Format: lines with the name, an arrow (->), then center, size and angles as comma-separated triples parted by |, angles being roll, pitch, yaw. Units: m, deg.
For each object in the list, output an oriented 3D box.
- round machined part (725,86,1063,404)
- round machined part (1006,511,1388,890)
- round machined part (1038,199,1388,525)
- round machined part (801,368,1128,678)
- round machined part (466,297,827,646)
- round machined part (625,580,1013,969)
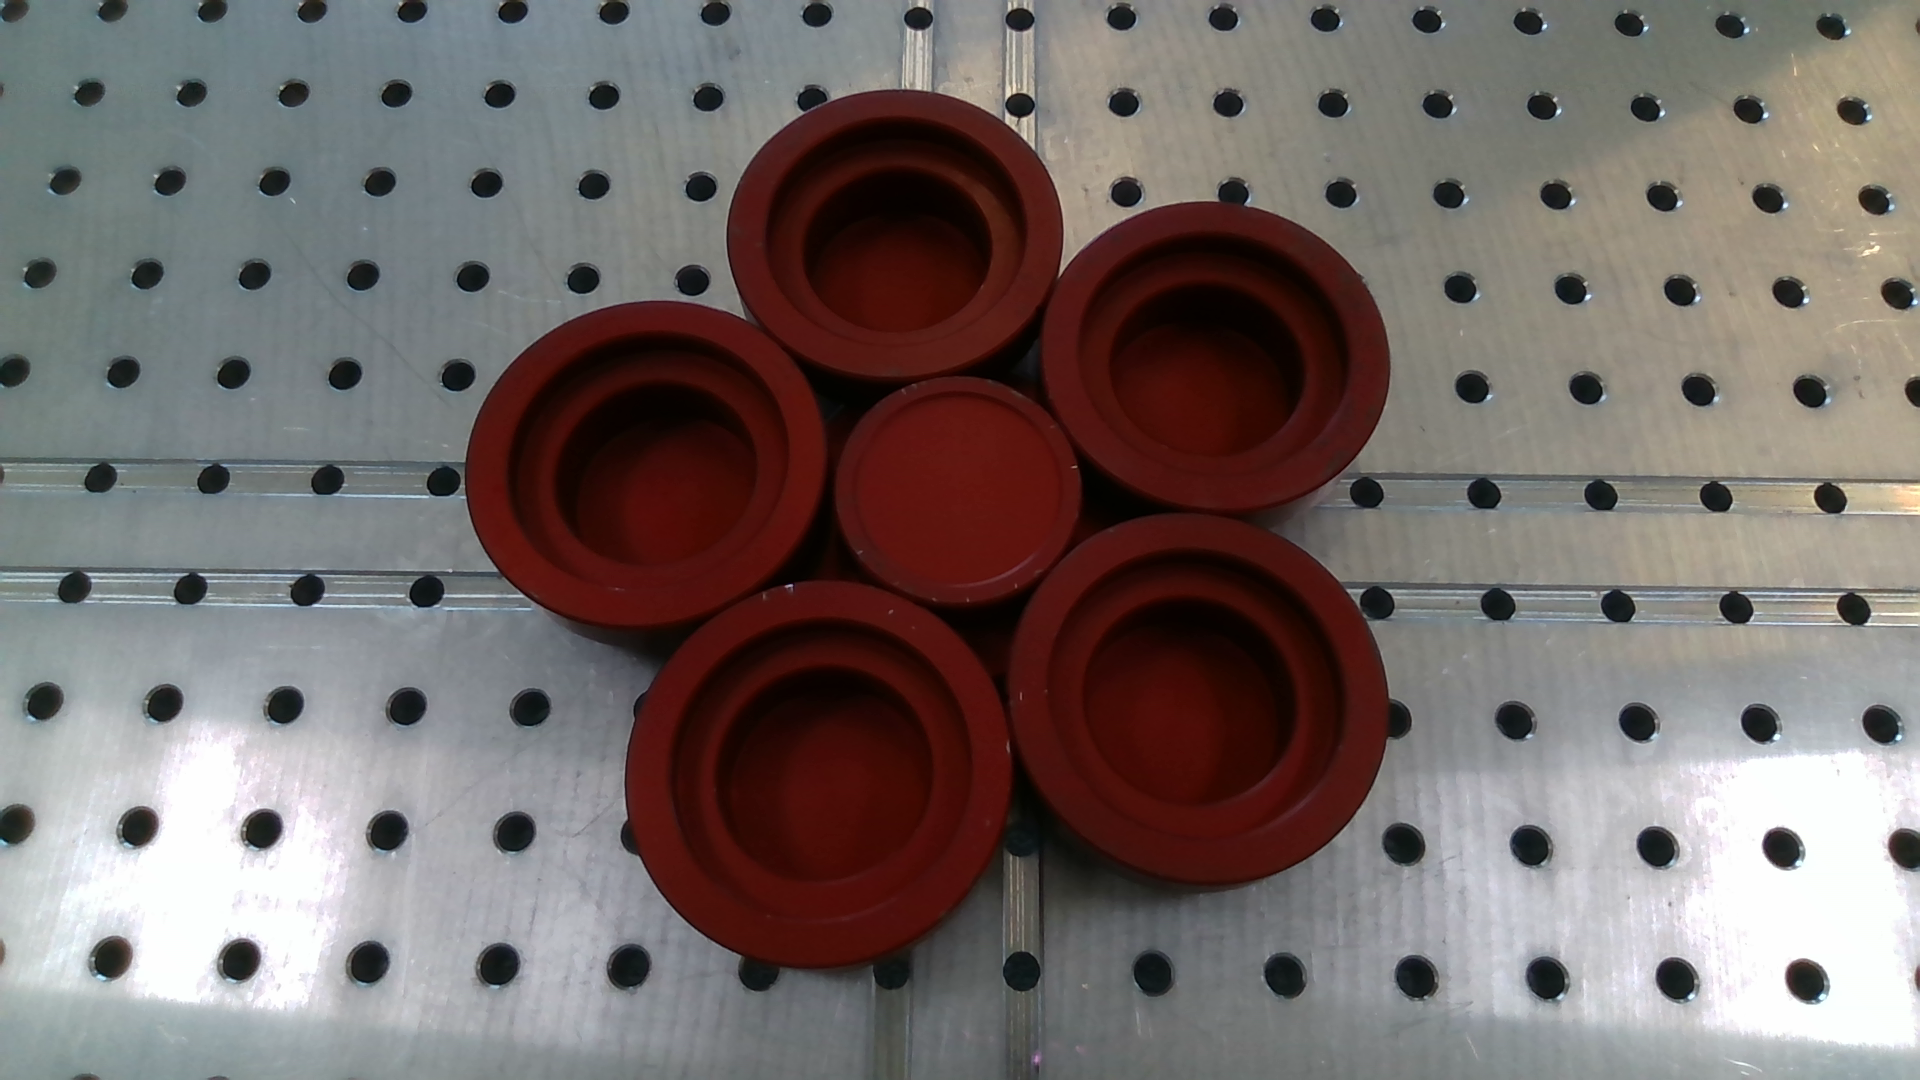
round machined part -> -0.019, -0.085, 0.418 | 0.098, 0.042, 0.098 | 0, 70, 0
round machined part -> 0.061, 0.045, 0.372 | 0.098, 0.042, 0.098 | 0, 70, 0
round machined part -> 0.071, -0.047, 0.405 | 0.098, 0.042, 0.098 | 0, 70, 0
round machined part -> -0.001, -0.008, 0.391 | 0.098, 0.042, 0.098 | 0, 70, 0
round machined part -> -0.086, -0.016, 0.394 | 0.098, 0.042, 0.098 | 0, 70, 0
round machined part -> -0.035, 0.063, 0.366 | 0.098, 0.042, 0.098 | 0, 70, 0
